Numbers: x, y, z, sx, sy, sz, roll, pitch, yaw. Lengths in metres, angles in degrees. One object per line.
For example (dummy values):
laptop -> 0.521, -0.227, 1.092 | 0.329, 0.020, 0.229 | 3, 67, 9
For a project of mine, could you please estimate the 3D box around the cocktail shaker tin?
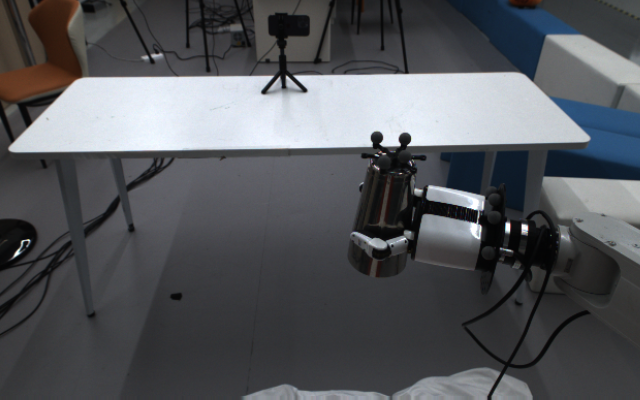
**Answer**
cocktail shaker tin -> 0.096, 0.018, 0.704 | 0.093, 0.170, 0.093 | 3, 34, -2
